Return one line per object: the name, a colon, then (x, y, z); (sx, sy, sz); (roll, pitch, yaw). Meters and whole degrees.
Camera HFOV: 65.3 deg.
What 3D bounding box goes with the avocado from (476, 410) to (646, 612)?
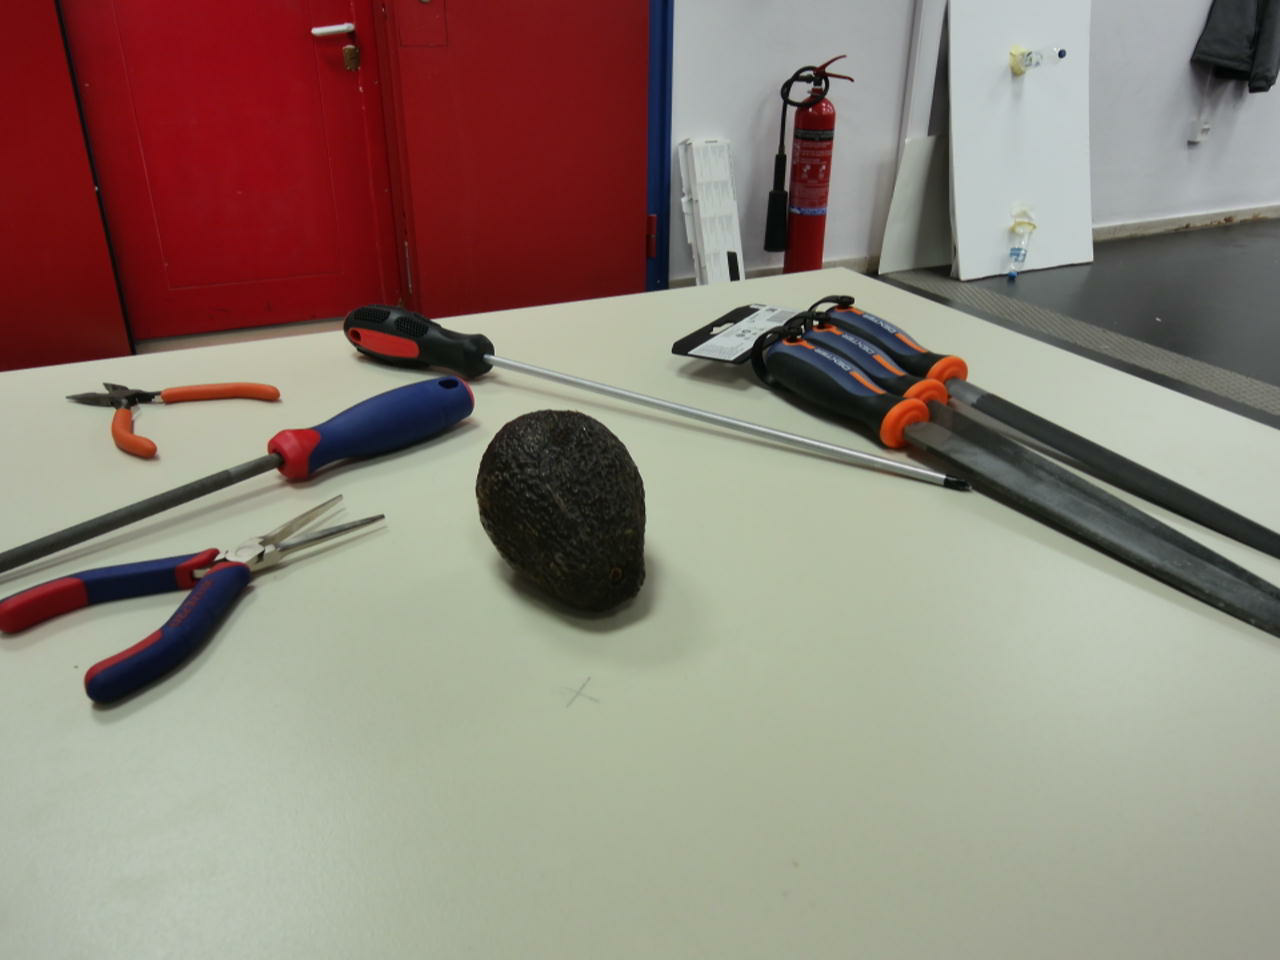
avocado: (-0.033, 0.009, 0.409); (0.070, 0.069, 0.090); (-1, 24, -1)
